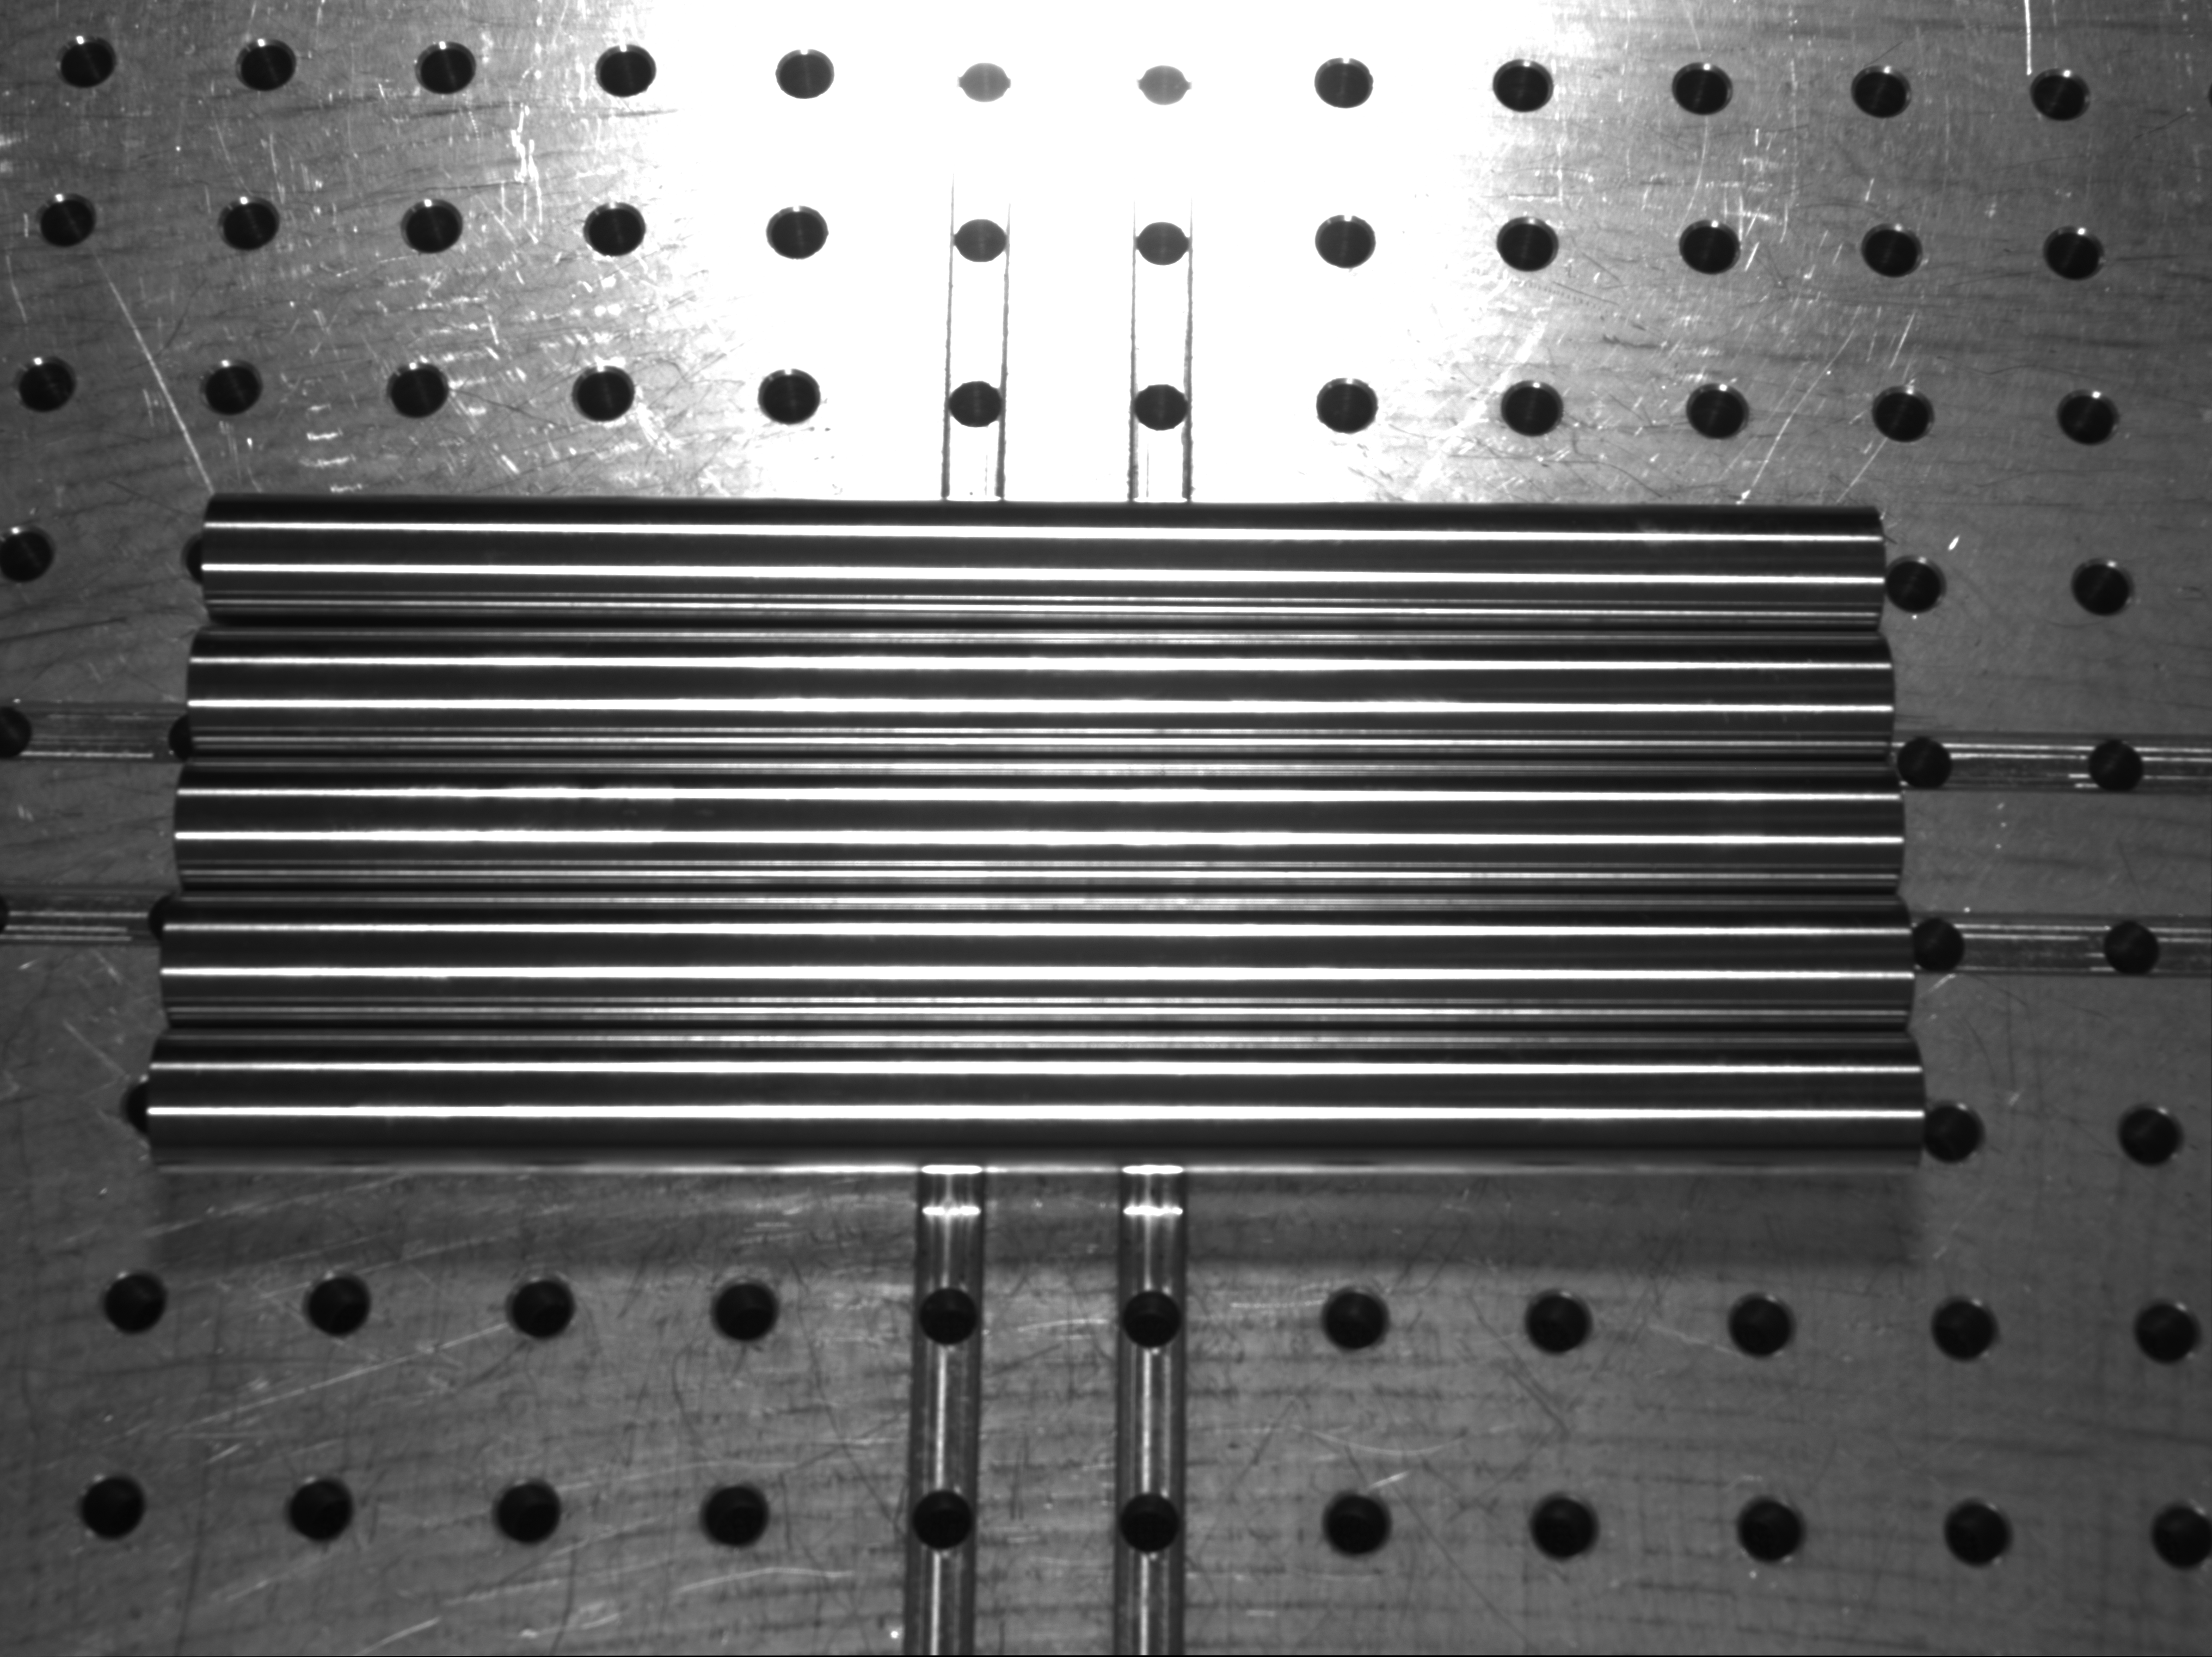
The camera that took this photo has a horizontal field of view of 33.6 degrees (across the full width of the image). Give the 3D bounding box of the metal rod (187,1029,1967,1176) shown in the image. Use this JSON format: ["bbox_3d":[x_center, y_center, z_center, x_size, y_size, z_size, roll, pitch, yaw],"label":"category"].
[{"bbox_3d":[-0.005,0.047,0.630,0.300,0.025,0.025,0,70,0],"label":"metal rod"}]

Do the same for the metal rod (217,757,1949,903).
[{"bbox_3d":[-0.004,0.001,0.647,0.300,0.025,0.025,0,70,0],"label":"metal rod"}]

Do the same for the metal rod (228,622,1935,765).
[{"bbox_3d":[-0.004,-0.023,0.656,0.300,0.025,0.025,0,70,0],"label":"metal rod"}]

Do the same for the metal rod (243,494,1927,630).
[{"bbox_3d":[-0.004,-0.047,0.665,0.300,0.025,0.025,0,70,0],"label":"metal rod"}]

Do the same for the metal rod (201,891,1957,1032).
[{"bbox_3d":[-0.005,0.024,0.638,0.300,0.025,0.025,0,70,0],"label":"metal rod"}]
